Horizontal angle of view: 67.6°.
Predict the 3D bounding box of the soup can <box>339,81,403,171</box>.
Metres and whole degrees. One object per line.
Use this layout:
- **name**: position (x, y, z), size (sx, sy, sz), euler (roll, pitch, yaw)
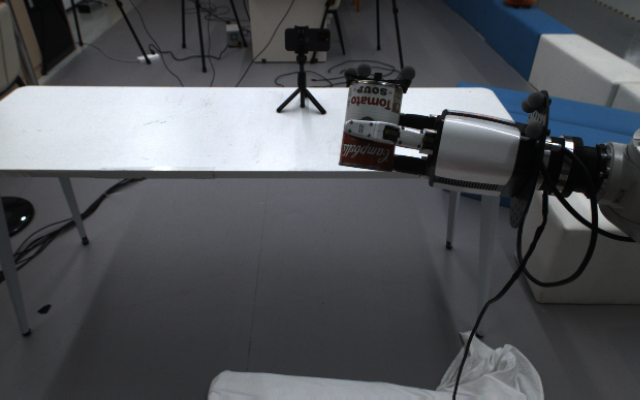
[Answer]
- **soup can**: position (0.064, -0.090, 0.597), size (0.067, 0.101, 0.067), euler (7, 3, 0)
